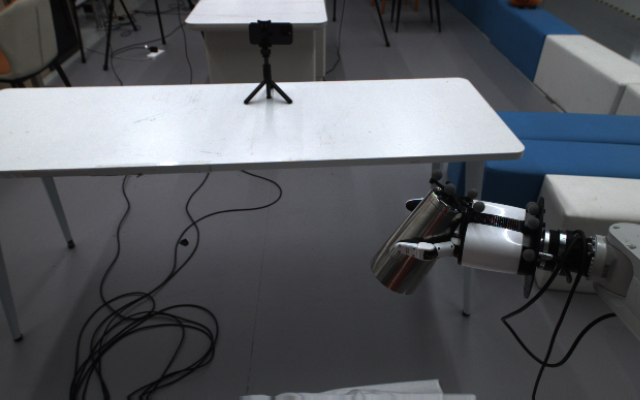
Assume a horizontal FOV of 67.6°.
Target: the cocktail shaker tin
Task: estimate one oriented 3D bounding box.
[{"bbox_3d":[0.166,0.060,0.799,0.093,0.170,0.093,25,29,-15],"label":"cocktail shaker tin"}]
